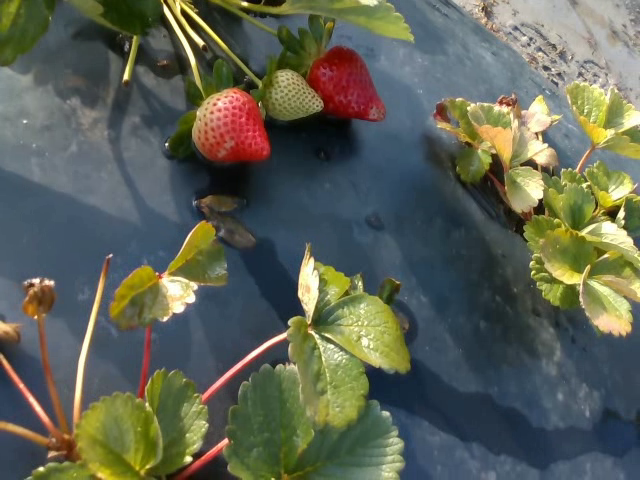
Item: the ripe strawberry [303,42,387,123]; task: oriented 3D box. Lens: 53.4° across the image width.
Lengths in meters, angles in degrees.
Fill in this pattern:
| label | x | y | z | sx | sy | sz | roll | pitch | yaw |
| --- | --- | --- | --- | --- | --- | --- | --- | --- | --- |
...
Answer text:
| label | x | y | z | sx | sy | sz | roll | pitch | yaw |
| --- | --- | --- | --- | --- | --- | --- | --- | --- | --- |
| ripe strawberry | 0.020 | -0.095 | 0.400 | 0.048 | 0.065 | 0.050 | -43 | 4 | 2 |
